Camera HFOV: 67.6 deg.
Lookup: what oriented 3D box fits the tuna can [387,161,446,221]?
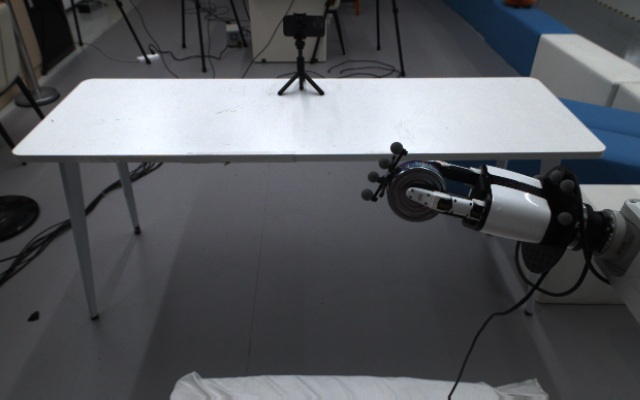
[{"bbox_3d":[0.141,-0.015,0.698,0.085,0.085,0.034,3,20,1],"label":"tuna can"}]
